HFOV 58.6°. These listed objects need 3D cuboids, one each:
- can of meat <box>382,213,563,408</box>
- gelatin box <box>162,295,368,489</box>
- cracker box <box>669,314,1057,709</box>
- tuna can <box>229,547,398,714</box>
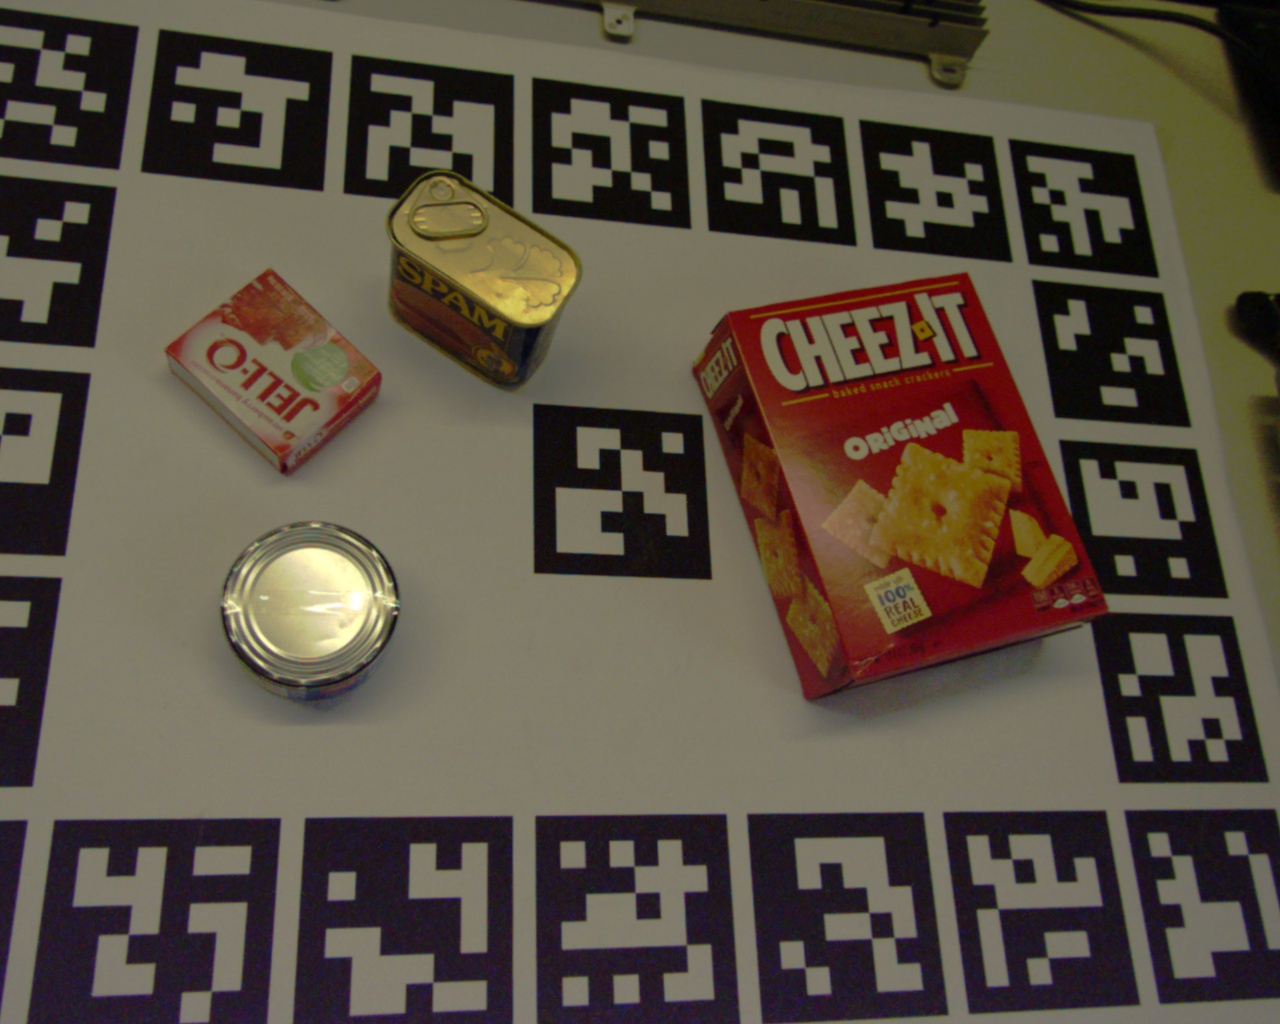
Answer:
[{"bbox_3d":[-0.104,-0.116,0.681,0.102,0.084,0.057,30,65,-1],"label":"can of meat"},{"bbox_3d":[-0.215,-0.070,0.656,0.089,0.030,0.073,42,62,1],"label":"gelatin box"},{"bbox_3d":[0.134,-0.007,0.704,0.163,0.072,0.214,-14,72,-20],"label":"cracker box"},{"bbox_3d":[-0.174,0.064,0.610,0.085,0.034,0.086,4,72,-12],"label":"tuna can"}]
